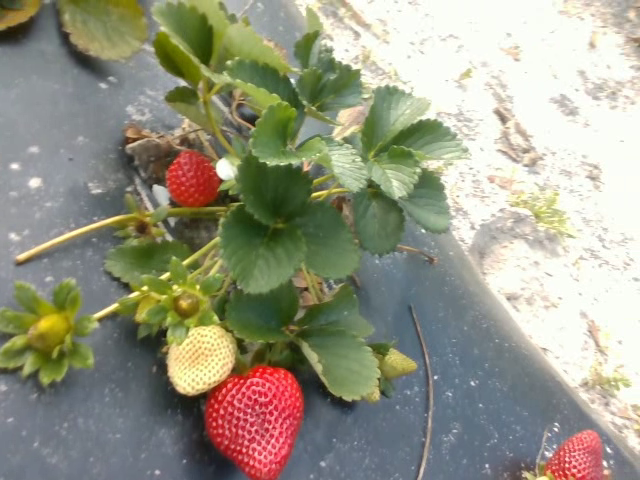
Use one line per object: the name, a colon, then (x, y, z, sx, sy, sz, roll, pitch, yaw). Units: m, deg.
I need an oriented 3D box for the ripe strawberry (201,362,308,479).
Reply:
ripe strawberry: (-0.031, 0.089, 0.275, 0.051, 0.048, 0.055, -12, 30, 1)
